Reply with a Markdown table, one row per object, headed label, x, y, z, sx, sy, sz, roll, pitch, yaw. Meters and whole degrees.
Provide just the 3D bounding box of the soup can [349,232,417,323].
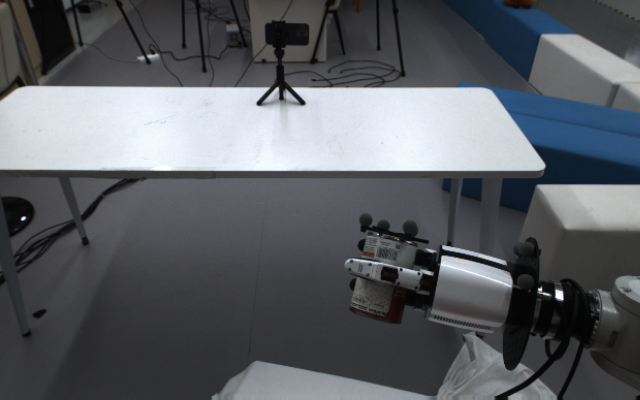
| label | x | y | z | sx | sy | sz | roll | pitch | yaw |
| --- | --- | --- | --- | --- | --- | --- | --- | --- | --- |
| soup can | 0.083 | 0.097 | 0.611 | 0.067 | 0.101 | 0.067 | 13 | -6 | 1 |
